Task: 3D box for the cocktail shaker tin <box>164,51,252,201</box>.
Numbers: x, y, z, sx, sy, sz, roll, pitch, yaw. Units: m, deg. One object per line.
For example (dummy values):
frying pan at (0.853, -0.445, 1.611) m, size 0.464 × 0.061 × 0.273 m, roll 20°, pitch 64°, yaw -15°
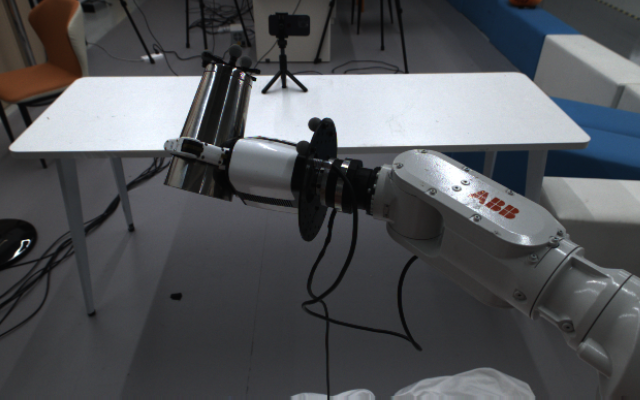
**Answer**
cocktail shaker tin at (-0.145, -0.091, 0.654) m, size 0.093 × 0.170 × 0.093 m, roll 14°, pitch -4°, yaw 1°
